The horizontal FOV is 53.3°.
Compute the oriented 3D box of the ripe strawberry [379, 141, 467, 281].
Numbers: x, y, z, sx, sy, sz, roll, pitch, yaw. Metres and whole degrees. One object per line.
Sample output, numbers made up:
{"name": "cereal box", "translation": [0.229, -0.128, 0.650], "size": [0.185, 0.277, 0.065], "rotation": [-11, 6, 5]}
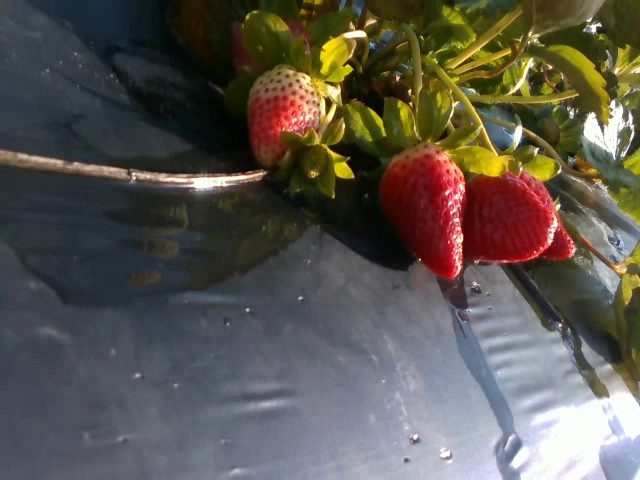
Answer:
{"name": "ripe strawberry", "translation": [0.036, -0.009, 0.191], "size": [0.031, 0.046, 0.023], "rotation": [7, -26, -44]}

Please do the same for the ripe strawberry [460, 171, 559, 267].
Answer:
{"name": "ripe strawberry", "translation": [0.061, -0.008, 0.207], "size": [0.030, 0.037, 0.039], "rotation": [20, 5, -41]}

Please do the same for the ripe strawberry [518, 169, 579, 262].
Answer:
{"name": "ripe strawberry", "translation": [0.079, -0.005, 0.230], "size": [0.035, 0.034, 0.041], "rotation": [1, 32, -45]}
